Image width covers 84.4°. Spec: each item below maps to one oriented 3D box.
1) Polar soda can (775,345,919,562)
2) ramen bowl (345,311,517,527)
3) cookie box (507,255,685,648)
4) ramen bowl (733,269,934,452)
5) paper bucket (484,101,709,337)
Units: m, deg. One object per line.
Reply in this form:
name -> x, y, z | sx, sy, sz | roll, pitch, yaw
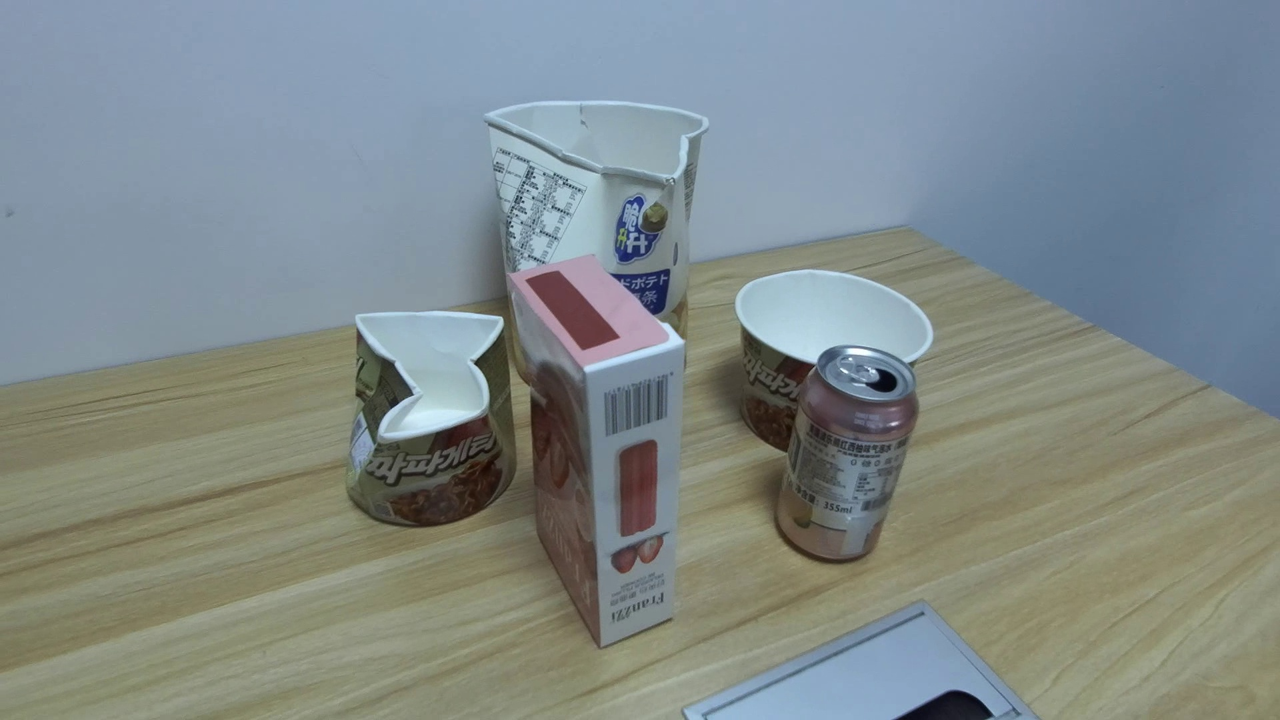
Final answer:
Polar soda can -> 0.121, 0.056, 0.420 | 0.067, 0.125, 0.067 | 2, 33, -1
ramen bowl -> -0.139, 0.041, 0.457 | 0.111, 0.093, 0.128 | 0, 34, -5
cookie box -> -0.024, 0.048, 0.373 | 0.049, 0.188, 0.104 | -15, 36, -23
ramen bowl -> 0.139, 0.006, 0.530 | 0.140, 0.095, 0.140 | 1, 34, 0
paper bucket -> -0.039, -0.085, 0.563 | 0.162, 0.202, 0.169 | 7, 32, 9
